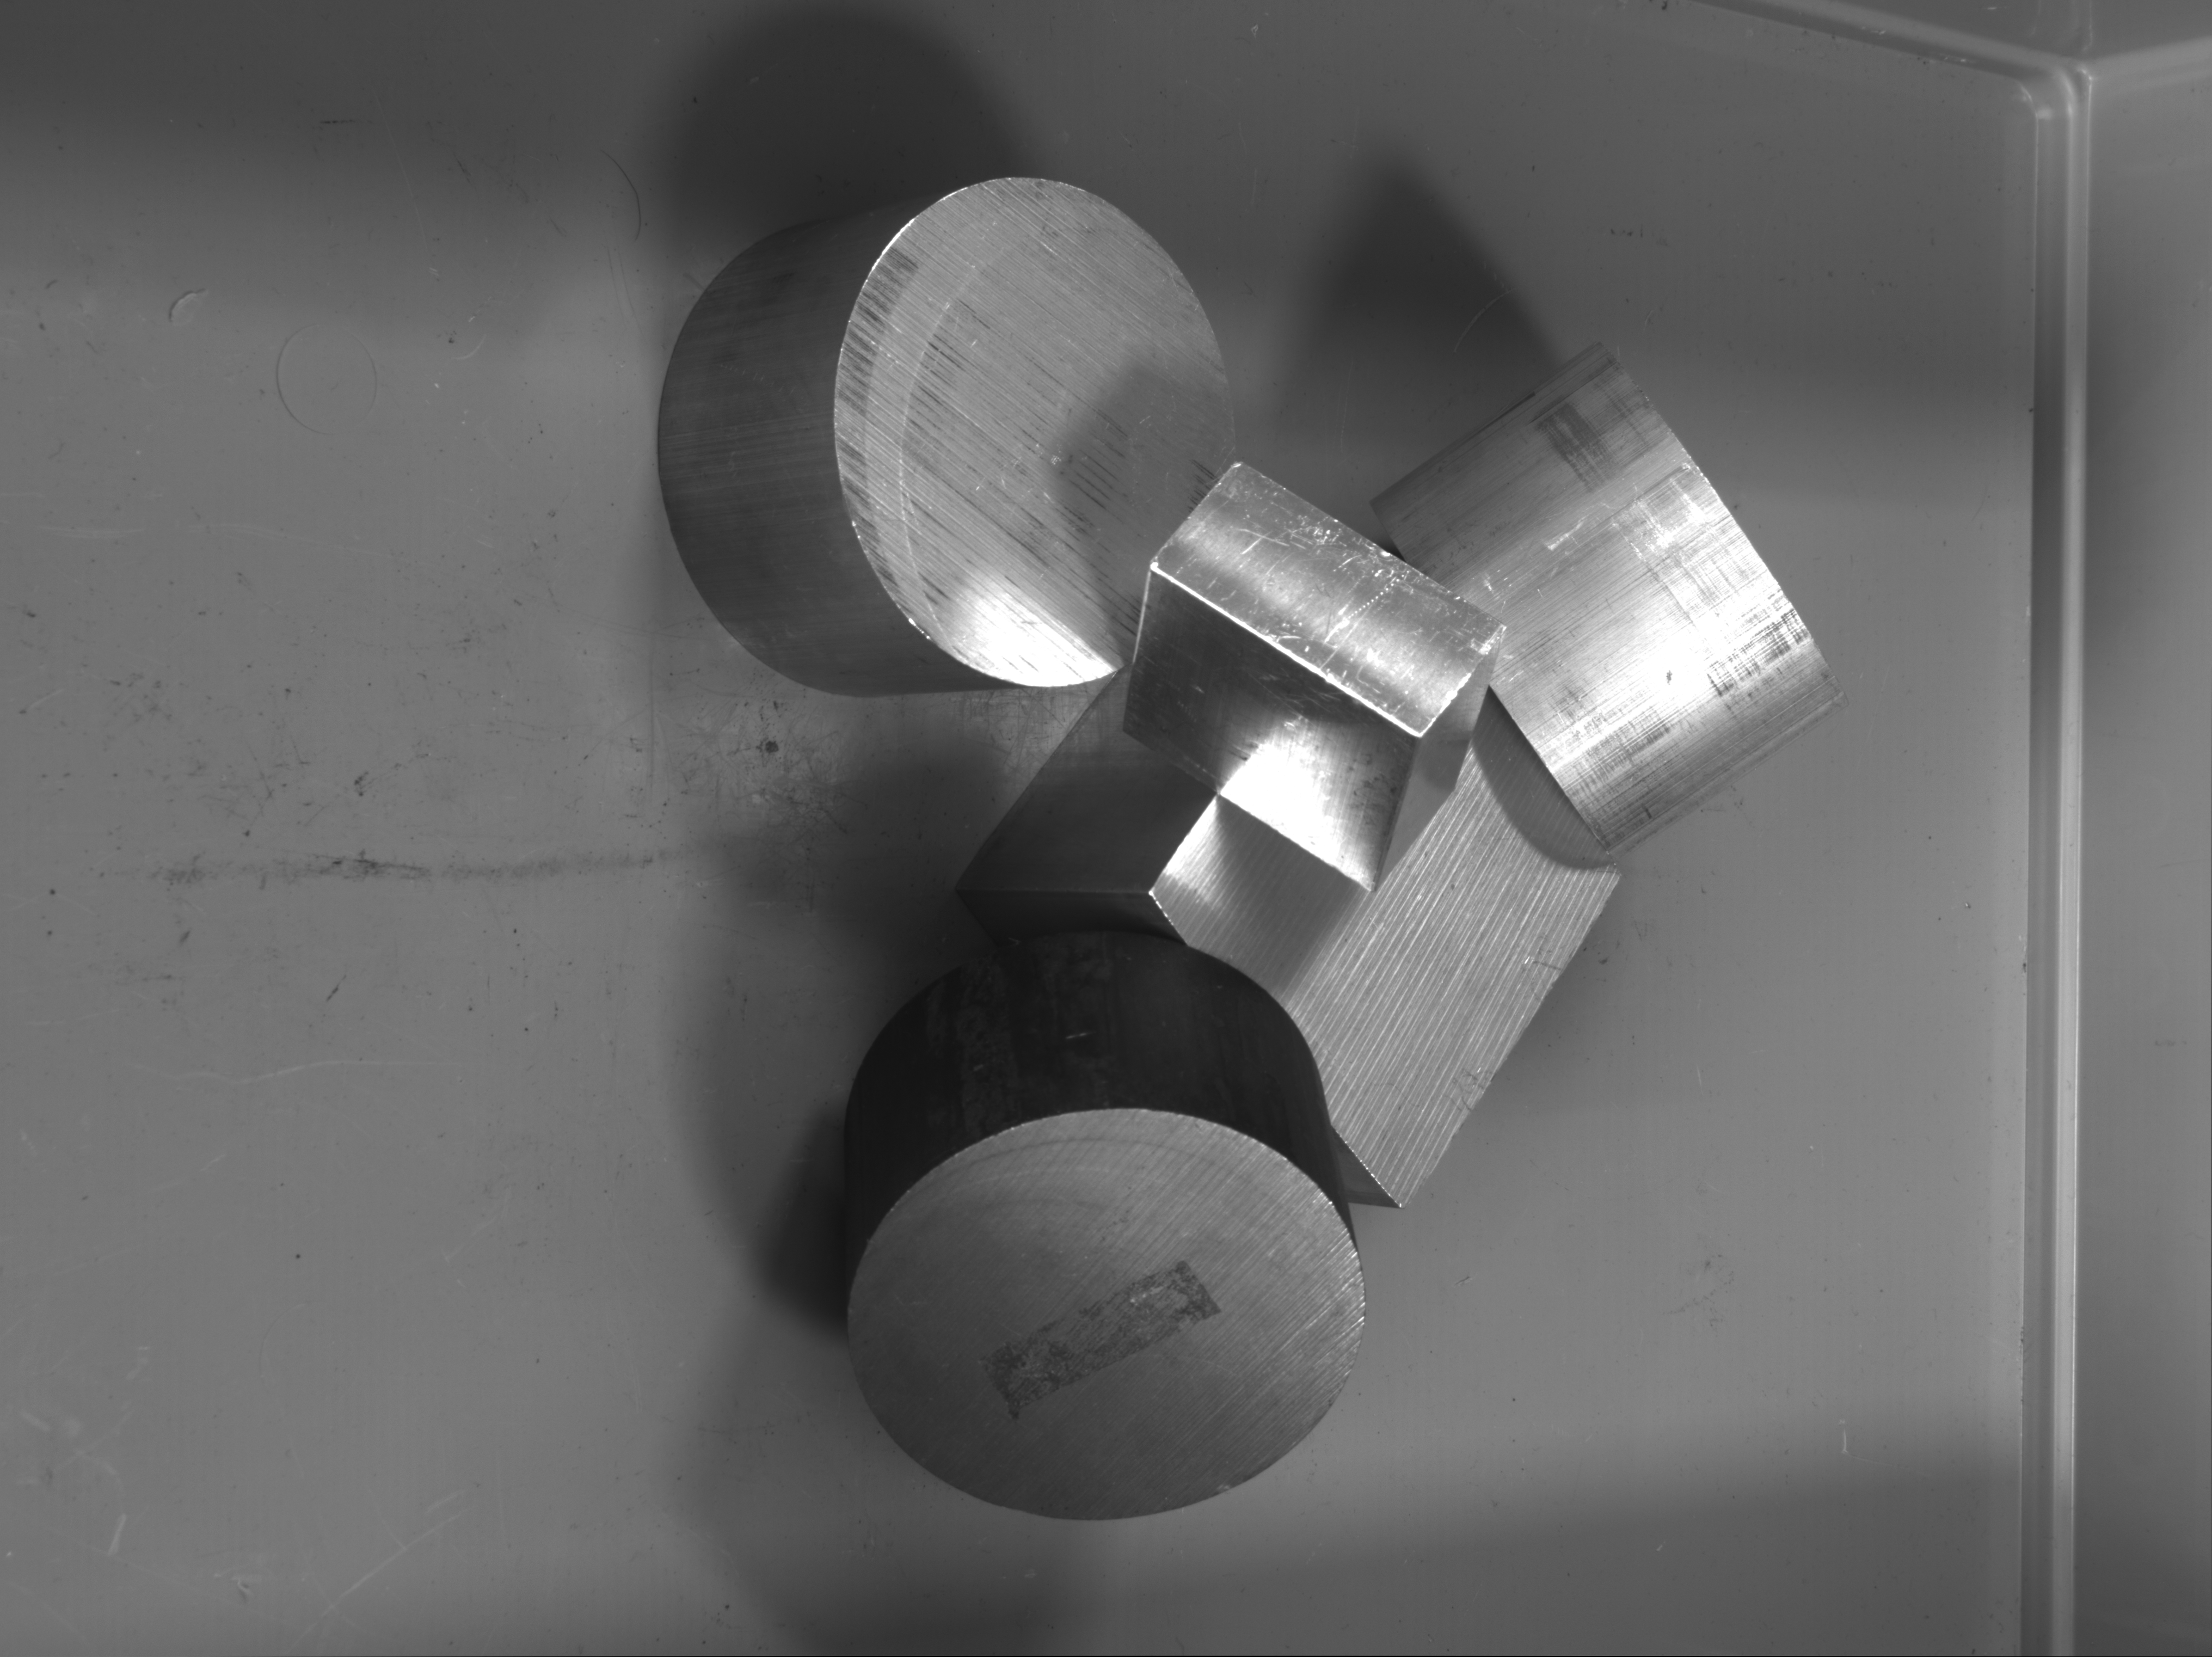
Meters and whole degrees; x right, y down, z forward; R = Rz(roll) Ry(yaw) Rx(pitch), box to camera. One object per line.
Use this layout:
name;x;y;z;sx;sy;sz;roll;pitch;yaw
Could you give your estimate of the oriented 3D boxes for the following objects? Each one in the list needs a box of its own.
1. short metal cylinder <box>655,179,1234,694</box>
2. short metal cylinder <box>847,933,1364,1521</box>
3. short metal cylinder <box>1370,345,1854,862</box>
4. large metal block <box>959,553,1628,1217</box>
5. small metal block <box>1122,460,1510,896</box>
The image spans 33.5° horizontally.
short metal cylinder;-0.026;-0.062;0.598;0.080;0.050;0.080;0;90;-40
short metal cylinder;-0.001;0.064;0.590;0.080;0.050;0.080;-2;121;-3
short metal cylinder;0.091;-0.041;0.666;0.050;0.080;0.080;-35;118;8
large metal block;0.034;0.010;0.644;0.080;0.050;0.080;52;60;-27
small metal block;0.032;-0.023;0.581;0.050;0.050;0.025;33;64;13
